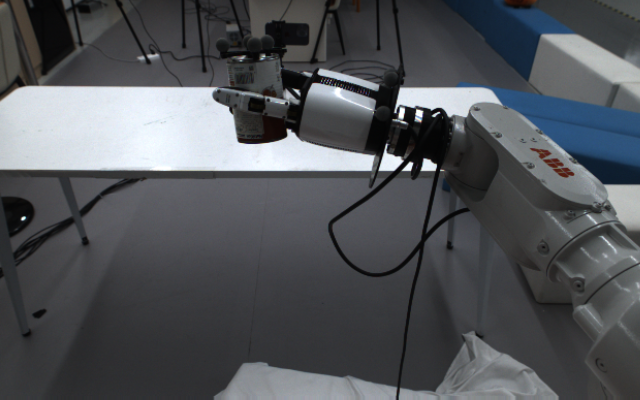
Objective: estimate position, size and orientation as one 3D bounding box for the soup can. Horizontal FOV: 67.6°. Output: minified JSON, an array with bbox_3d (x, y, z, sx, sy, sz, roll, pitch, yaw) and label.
[{"bbox_3d":[-0.078,-0.128,0.612,0.067,0.101,0.067,-4,21,1],"label":"soup can"}]
